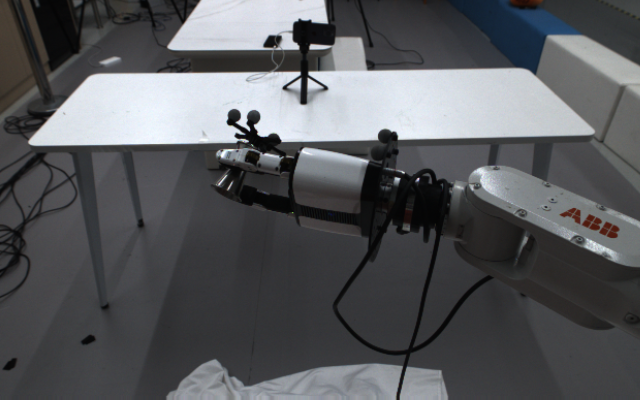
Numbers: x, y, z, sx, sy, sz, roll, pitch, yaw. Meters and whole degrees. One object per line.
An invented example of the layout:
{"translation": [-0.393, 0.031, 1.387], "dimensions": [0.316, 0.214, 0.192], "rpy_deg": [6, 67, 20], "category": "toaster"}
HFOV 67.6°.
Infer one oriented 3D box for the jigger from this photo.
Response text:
{"translation": [-0.106, -0.039, 0.620], "dimensions": [0.043, 0.043, 0.071], "rpy_deg": [20, 73, 24], "category": "jigger"}
